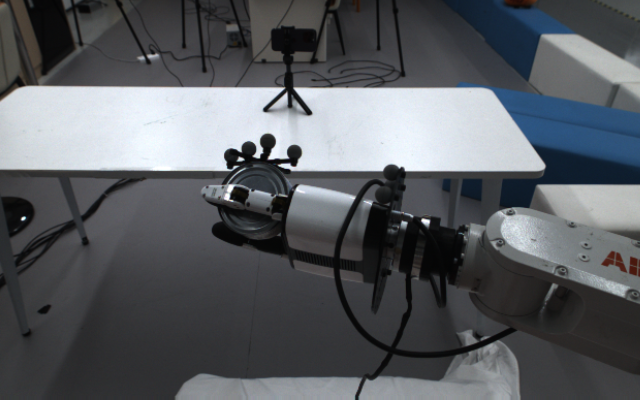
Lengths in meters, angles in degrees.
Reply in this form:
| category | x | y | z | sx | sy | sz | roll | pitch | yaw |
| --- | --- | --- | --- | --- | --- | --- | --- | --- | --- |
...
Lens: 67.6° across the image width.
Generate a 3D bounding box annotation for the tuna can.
| category | x | y | z | sx | sy | sz | roll | pitch | yaw |
| --- | --- | --- | --- | --- | --- | --- | --- | --- | --- |
| tuna can | -0.071 | 0.001 | 0.552 | 0.085 | 0.034 | 0.085 | -5 | 70 | 14 |
